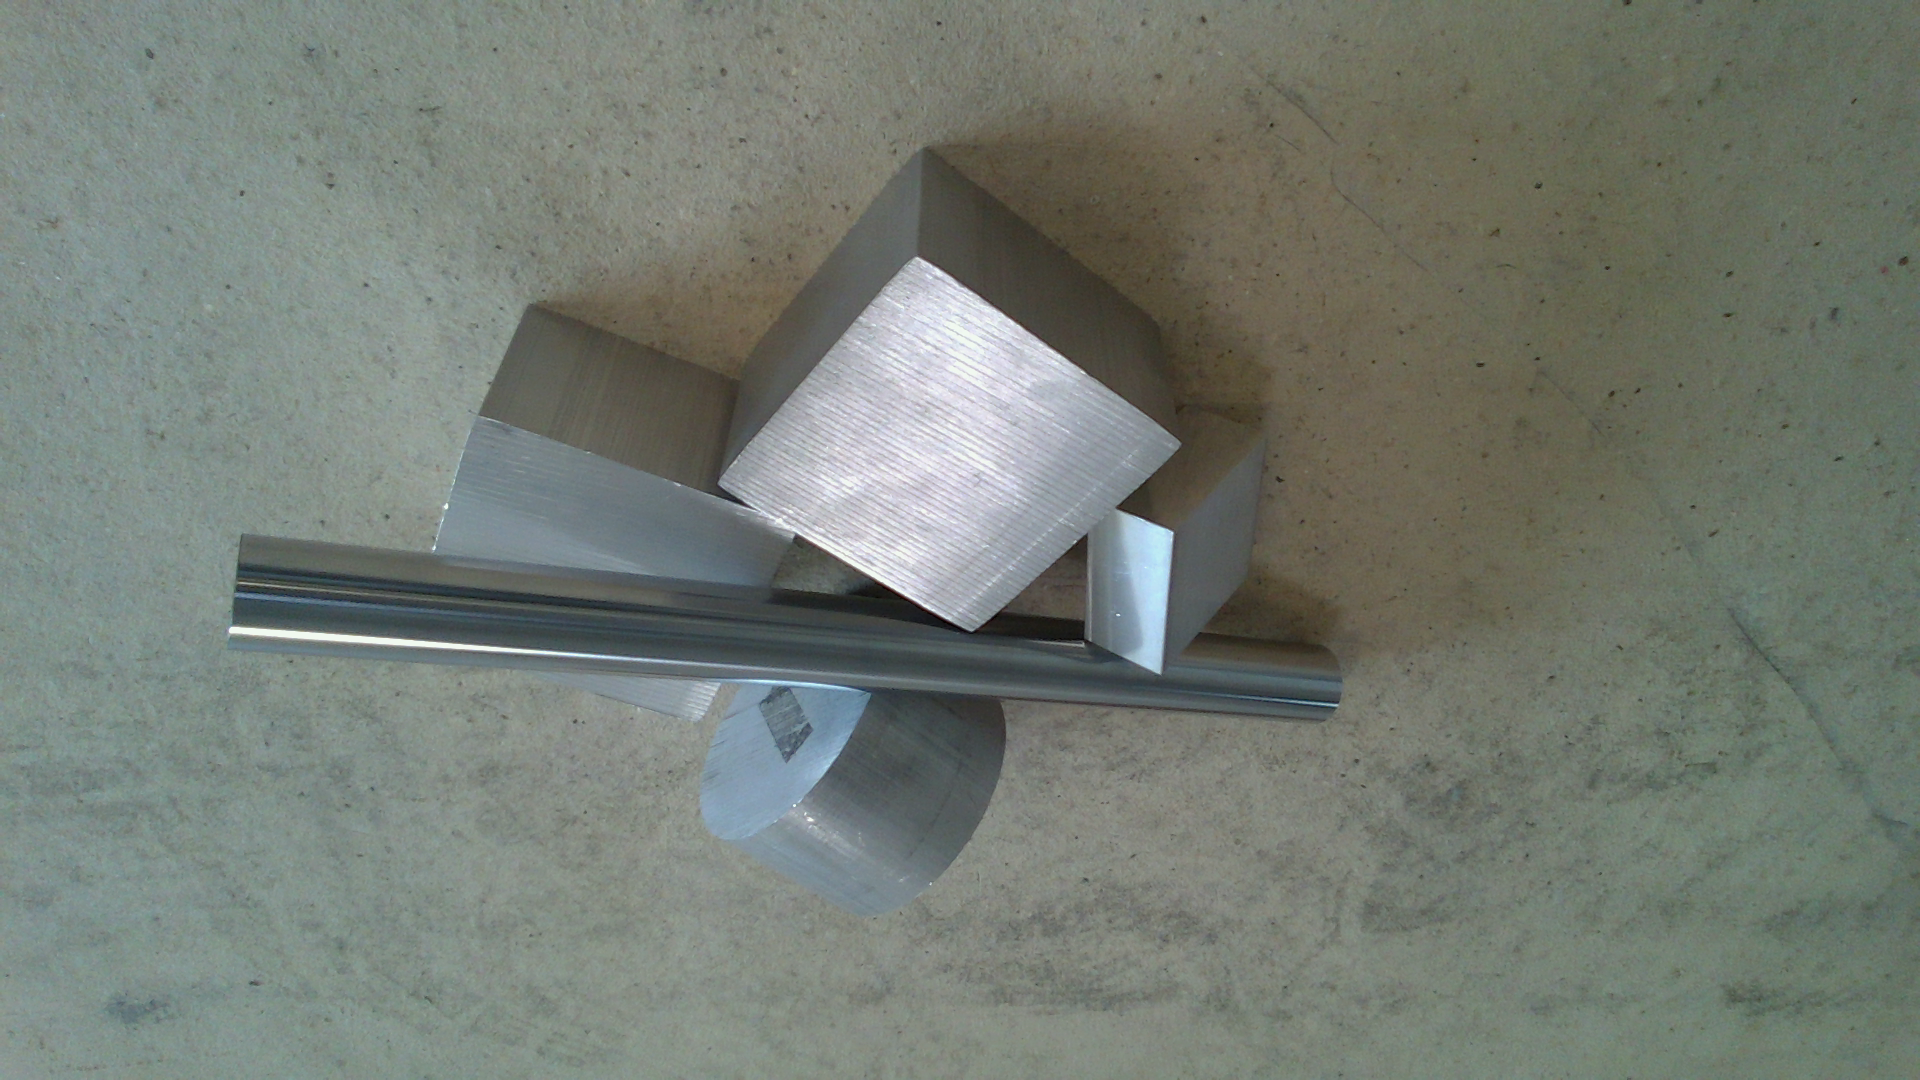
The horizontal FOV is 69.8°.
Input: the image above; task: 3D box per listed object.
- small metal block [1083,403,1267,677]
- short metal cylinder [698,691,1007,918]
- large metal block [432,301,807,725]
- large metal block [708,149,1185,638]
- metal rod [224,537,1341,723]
[{"bbox_3d":[0.058,-0.001,0.371,0.025,0.050,0.050,24,137,28],"label":"small metal block"},{"bbox_3d":[-0.032,0.064,0.408,0.080,0.080,0.050,-37,121,27],"label":"short metal cylinder"},{"bbox_3d":[-0.093,-0.005,0.369,0.080,0.050,0.080,19,127,-16],"label":"large metal block"},{"bbox_3d":[-0.004,-0.034,0.343,0.080,0.050,0.080,32,123,-24],"label":"large metal block"},{"bbox_3d":[-0.022,0.028,0.361,0.301,0.025,0.025,7,132,-28],"label":"metal rod"}]
